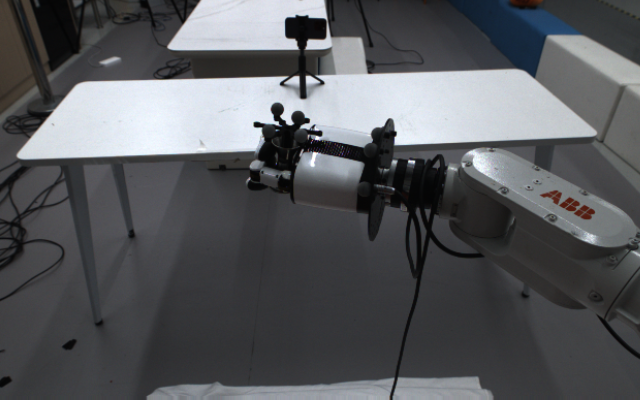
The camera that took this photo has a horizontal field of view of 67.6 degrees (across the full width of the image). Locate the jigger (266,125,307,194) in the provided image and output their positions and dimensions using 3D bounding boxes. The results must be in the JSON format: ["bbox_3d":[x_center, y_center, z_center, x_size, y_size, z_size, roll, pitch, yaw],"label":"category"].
[{"bbox_3d":[-0.045,-0.048,0.650,0.043,0.071,0.043,6,32,-4],"label":"jigger"}]
